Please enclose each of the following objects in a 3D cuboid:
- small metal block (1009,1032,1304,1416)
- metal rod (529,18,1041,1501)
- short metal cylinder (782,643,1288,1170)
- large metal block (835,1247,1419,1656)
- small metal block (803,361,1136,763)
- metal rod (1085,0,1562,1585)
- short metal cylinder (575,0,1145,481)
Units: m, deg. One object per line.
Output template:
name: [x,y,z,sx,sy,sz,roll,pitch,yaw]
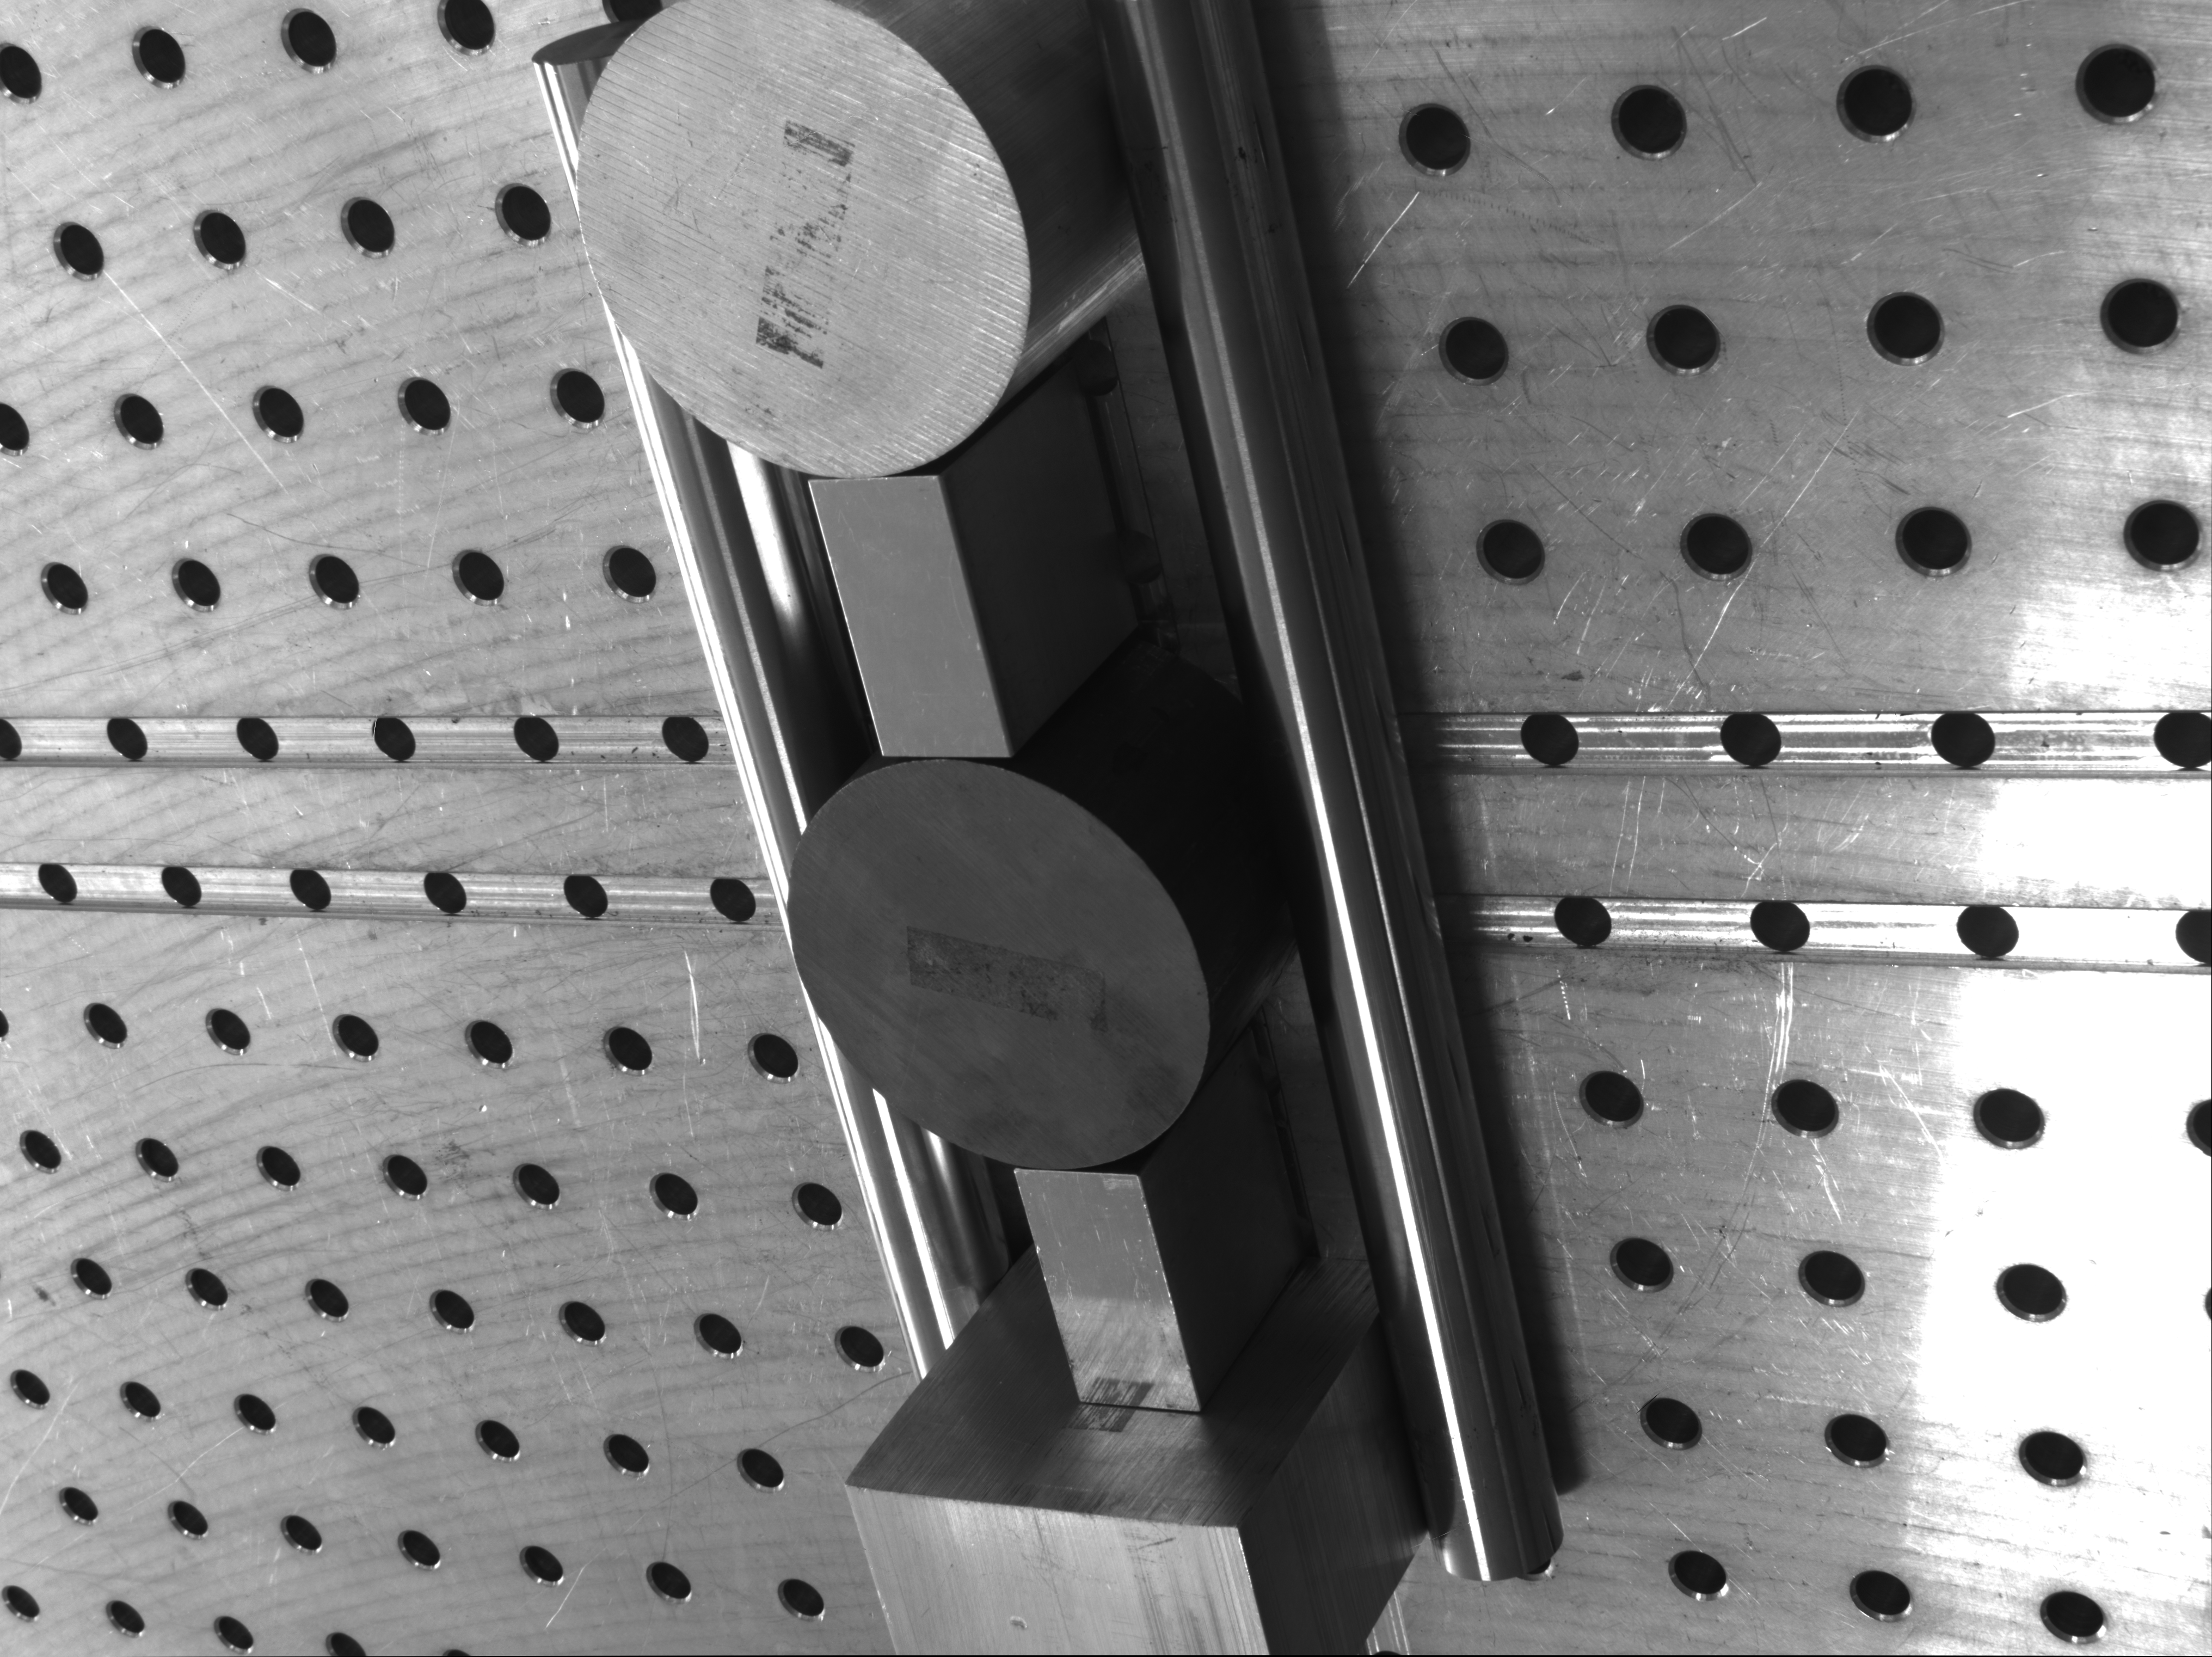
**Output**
small metal block: [0.010,0.071,0.666,0.025,0.050,0.050,0,118,28]
metal rod: [-0.051,0.001,0.673,0.025,0.025,0.300,1,119,28]
short metal cylinder: [-0.009,0.012,0.642,0.080,0.050,0.080,13,124,21]
large metal block: [0.009,0.121,0.679,0.080,0.080,0.050,1,119,28]
small metal block: [-0.022,-0.045,0.612,0.025,0.050,0.050,1,119,28]
metal rod: [0.041,0.002,0.623,0.025,0.025,0.300,1,119,28]
short metal cylinder: [-0.037,-0.102,0.586,0.080,0.050,0.080,13,124,21]
